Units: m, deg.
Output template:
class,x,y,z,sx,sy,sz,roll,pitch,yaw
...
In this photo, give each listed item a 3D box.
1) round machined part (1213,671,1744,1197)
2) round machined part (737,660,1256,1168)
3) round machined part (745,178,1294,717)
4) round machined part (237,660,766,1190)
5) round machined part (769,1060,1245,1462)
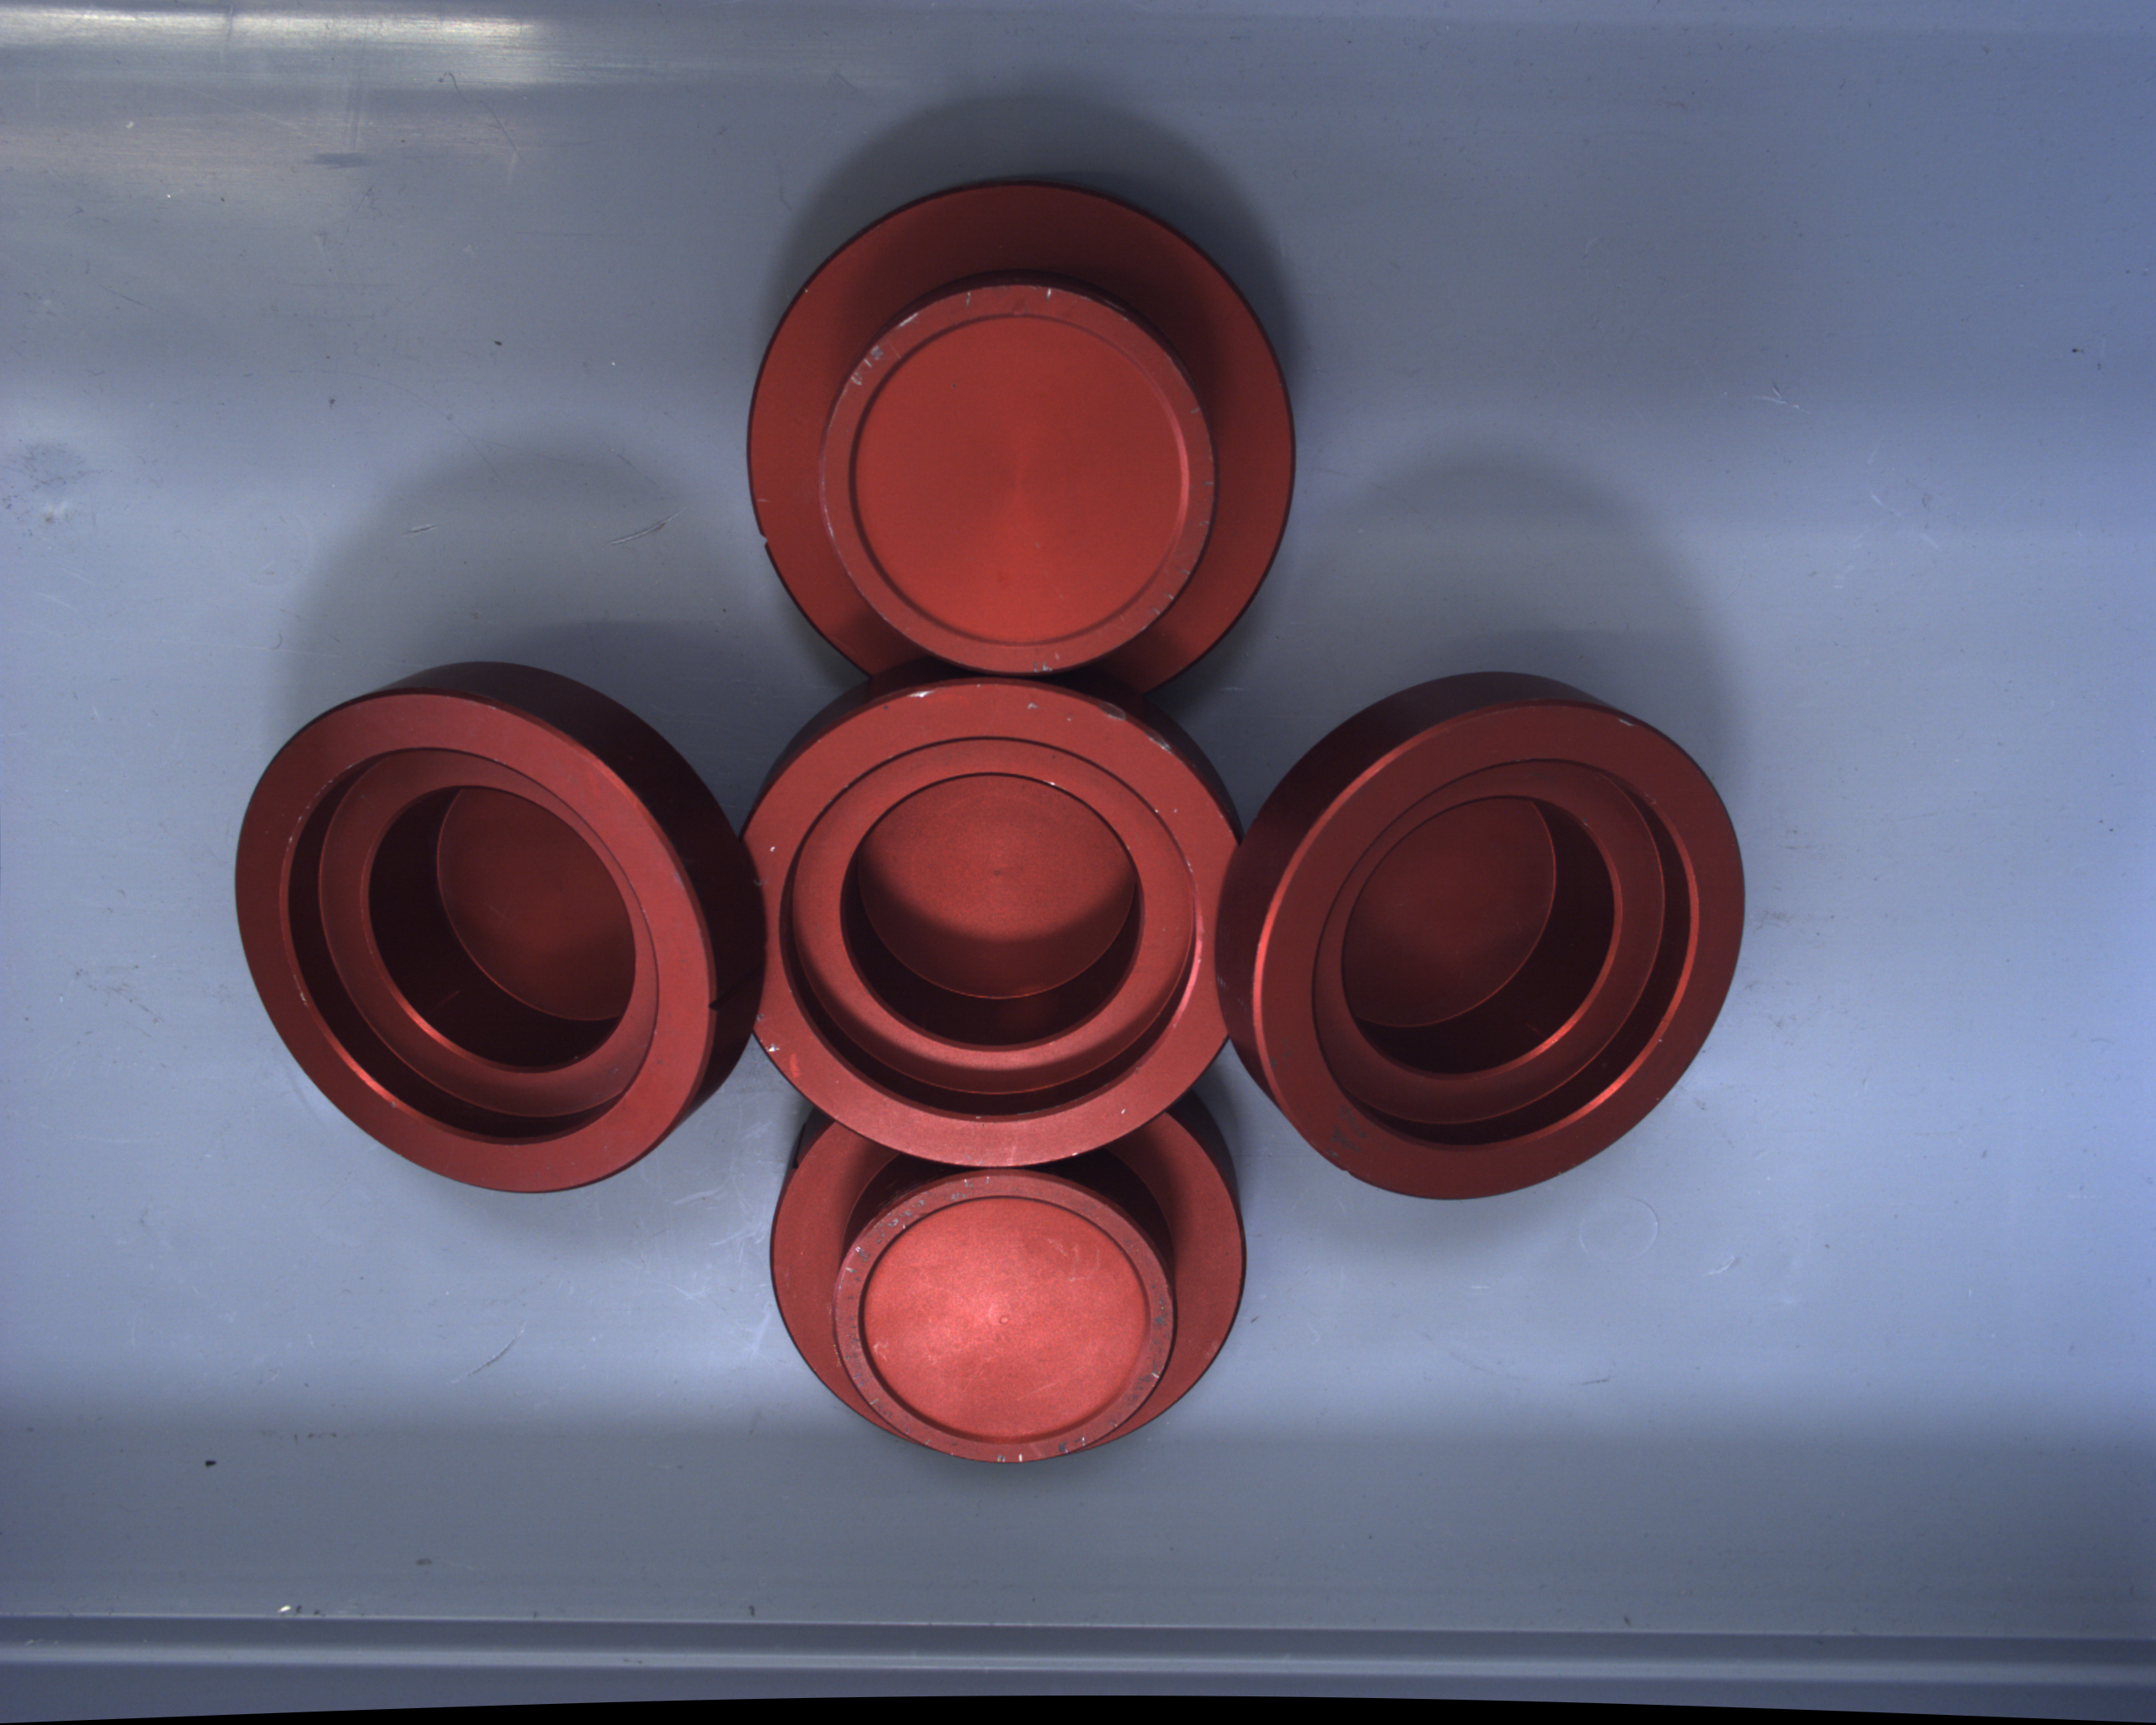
class,x,y,z,sx,sy,sz,roll,pitch,yaw
round machined part,0.072,0.011,0.396,0.099,0.042,0.097,-6,111,-16
round machined part,-0.016,0.006,0.402,0.099,0.042,0.097,0,110,0
round machined part,-0.010,-0.071,0.374,0.099,0.042,0.097,0,110,0
round machined part,-0.104,0.009,0.394,0.098,0.042,0.097,6,111,16
round machined part,-0.015,0.083,0.431,0.099,0.042,0.097,0,110,0
